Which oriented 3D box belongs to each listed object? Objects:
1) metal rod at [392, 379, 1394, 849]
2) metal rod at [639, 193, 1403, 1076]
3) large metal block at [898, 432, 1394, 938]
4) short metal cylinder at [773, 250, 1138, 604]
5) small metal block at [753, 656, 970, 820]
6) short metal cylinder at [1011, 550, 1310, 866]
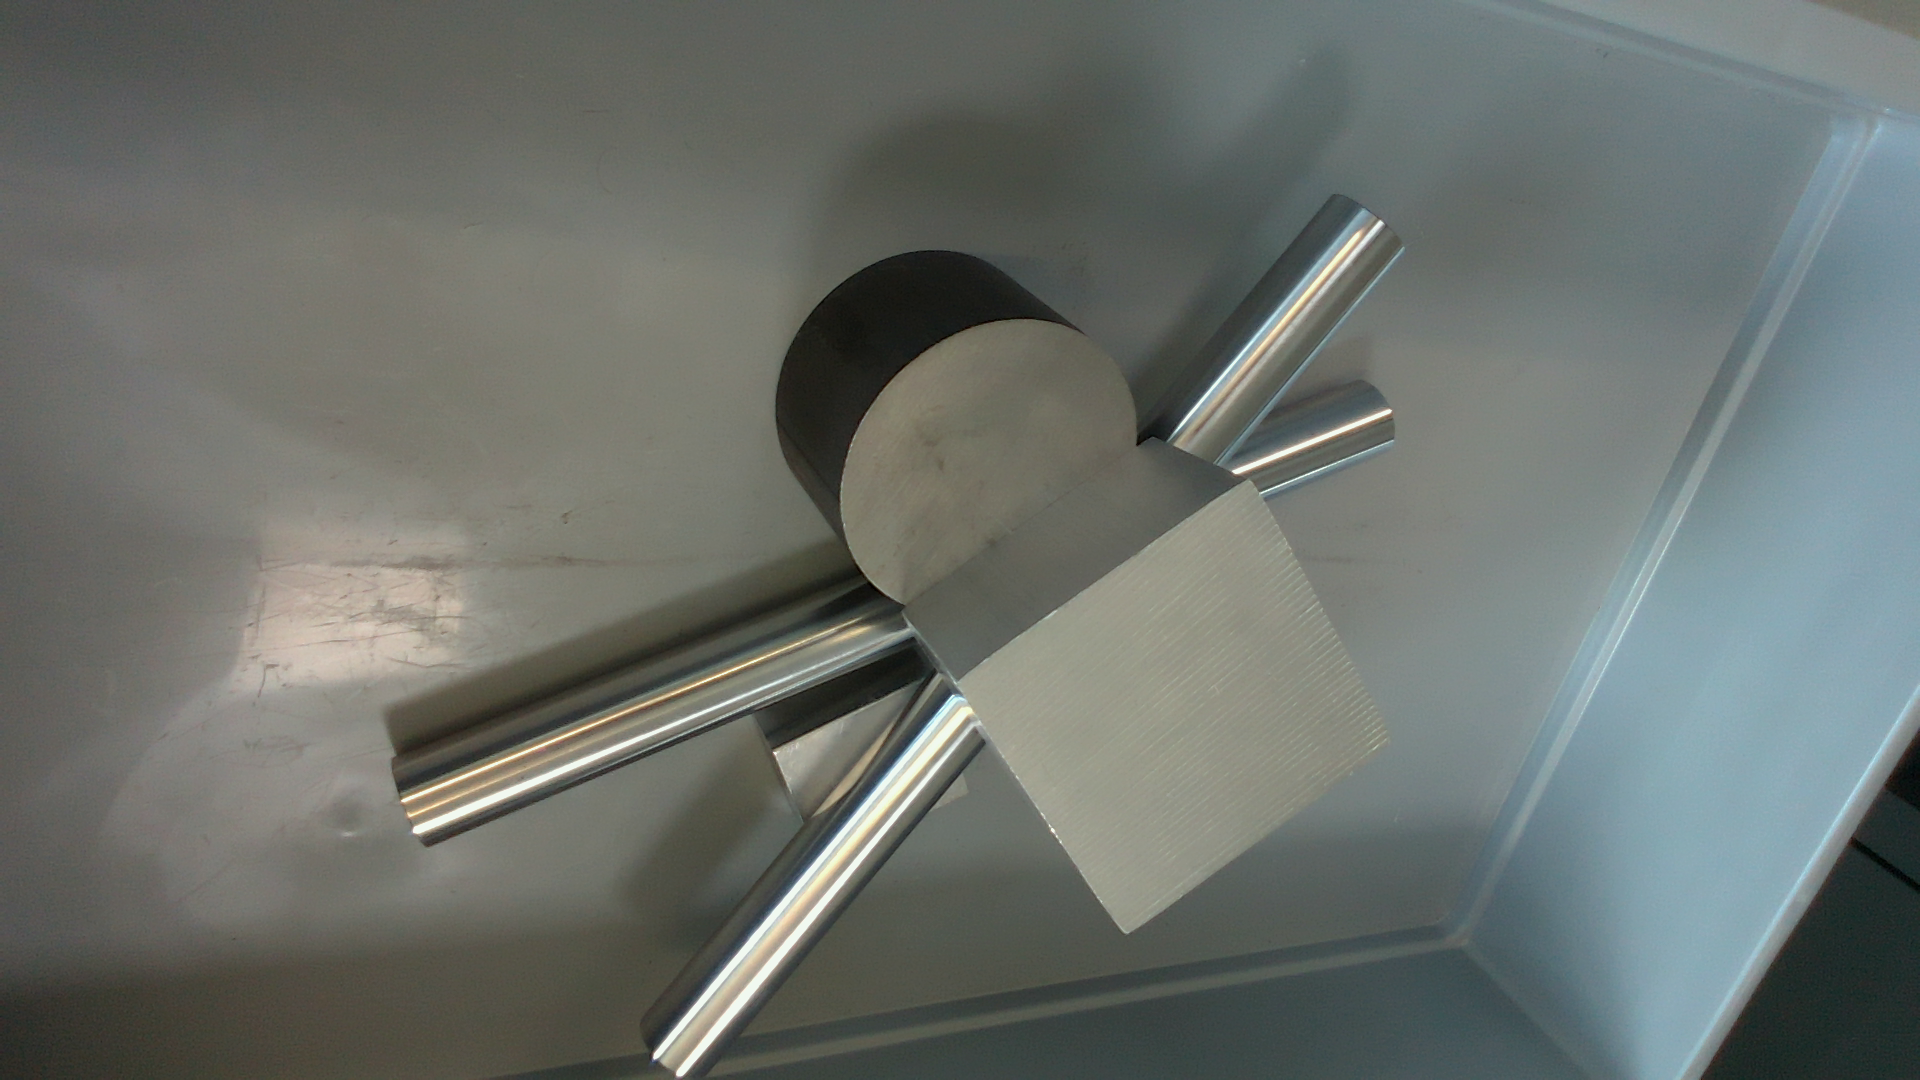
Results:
[{"bbox_3d":[-0.006,0.014,0.393,0.301,0.025,0.025,-22,127,-16],"label":"metal rod"},{"bbox_3d":[0.012,0.031,0.382,0.025,0.025,0.300,34,99,-38],"label":"metal rod"},{"bbox_3d":[0.044,0.033,0.334,0.080,0.050,0.080,-34,112,-5],"label":"large metal block"},{"bbox_3d":[-0.002,-0.028,0.353,0.080,0.050,0.080,-14,124,-21],"label":"short metal cylinder"},{"bbox_3d":[-0.030,0.062,0.410,0.050,0.025,0.050,-25,127,-13],"label":"small metal block"},{"bbox_3d":[0.060,0.050,0.416,0.050,0.080,0.080,-37,129,-3],"label":"short metal cylinder"}]
